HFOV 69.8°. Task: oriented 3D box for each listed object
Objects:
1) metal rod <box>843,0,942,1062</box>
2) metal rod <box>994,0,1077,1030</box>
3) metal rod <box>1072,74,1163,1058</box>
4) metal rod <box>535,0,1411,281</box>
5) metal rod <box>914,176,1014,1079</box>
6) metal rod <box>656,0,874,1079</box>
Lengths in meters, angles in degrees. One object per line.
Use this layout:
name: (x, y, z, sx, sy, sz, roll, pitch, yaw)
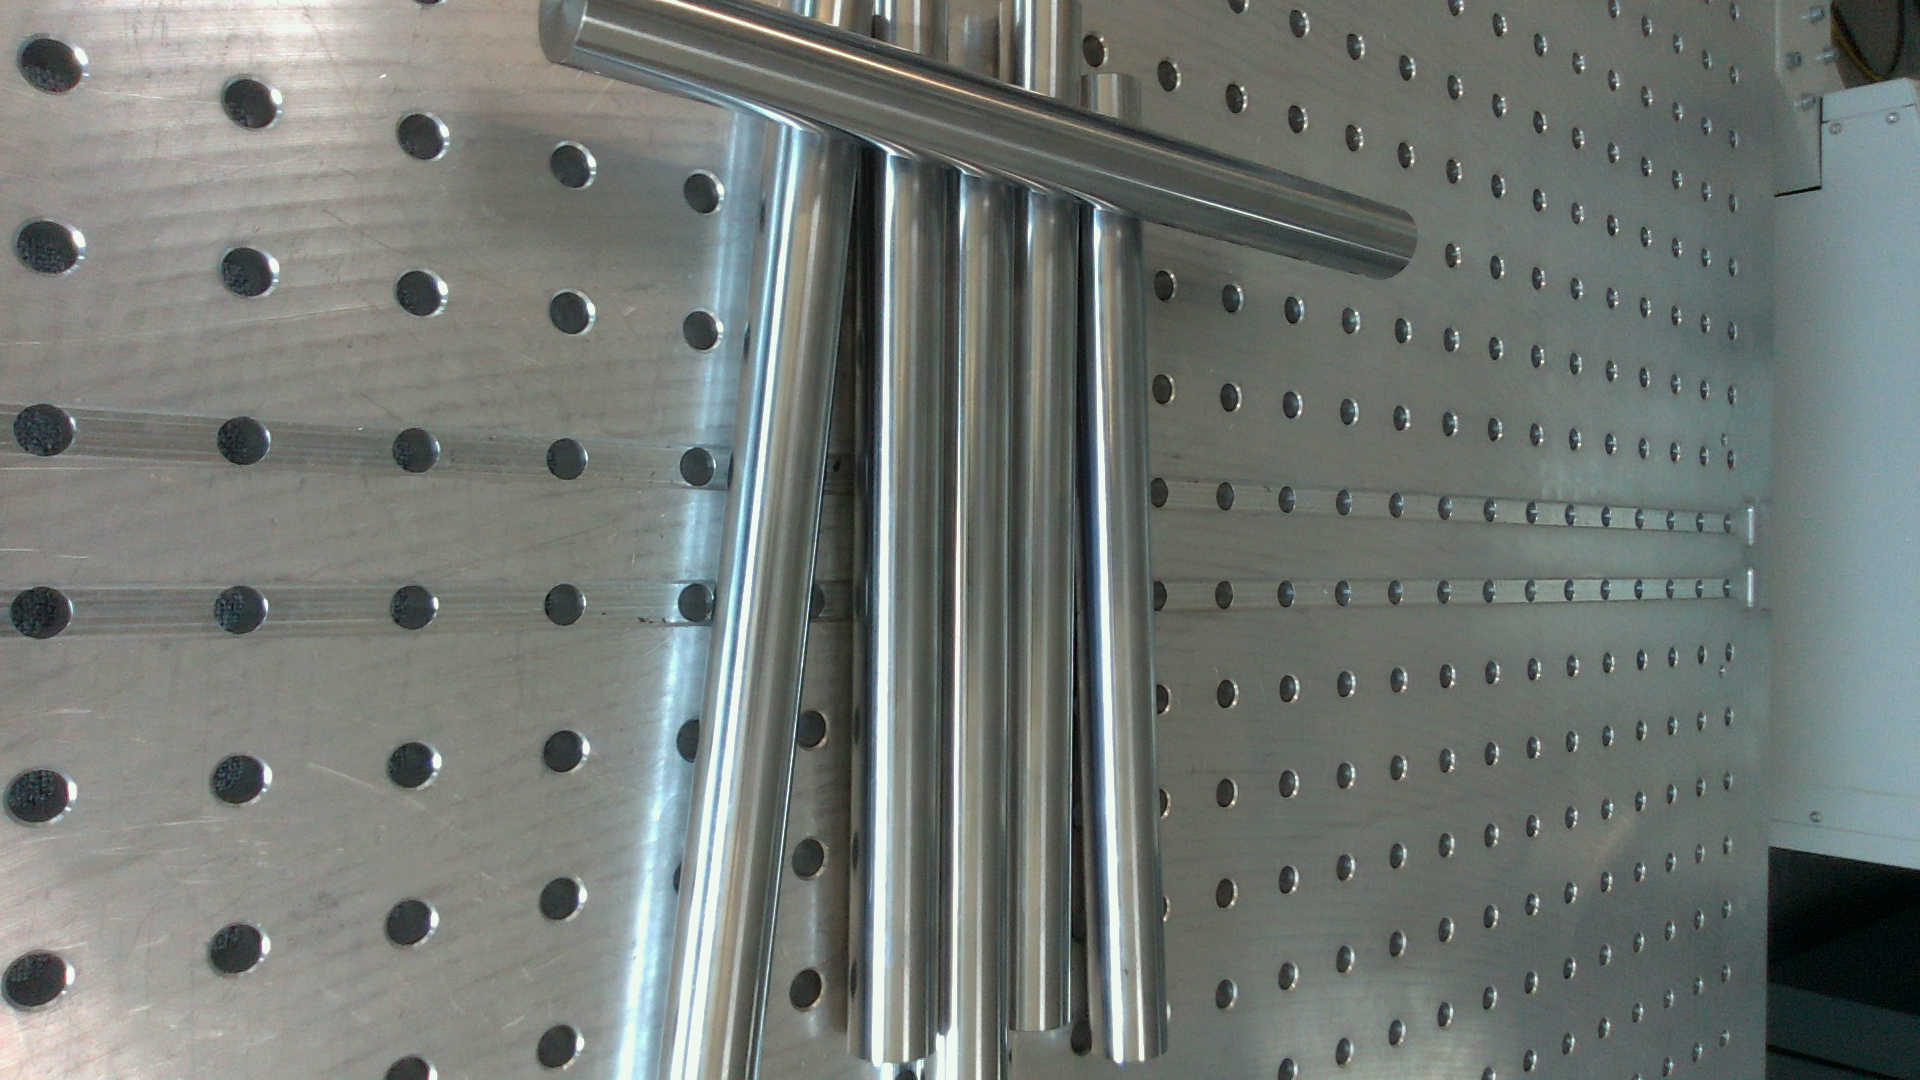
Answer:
metal rod: (-0.018, -0.012, 0.377, 0.025, 0.025, 0.300, 1, 89, -40)
metal rod: (0.021, -0.009, 0.410, 0.025, 0.025, 0.300, 1, 89, -40)
metal rod: (0.047, 0.009, 0.431, 0.025, 0.025, 0.300, -3, 92, -40)
metal rod: (0.031, -0.108, 0.385, 0.301, 0.025, 0.025, 2, 89, -40)
metal rod: (0.001, 0.044, 0.392, 0.025, 0.025, 0.300, 1, 90, -40)
metal rod: (-0.050, 0.007, 0.348, 0.025, 0.025, 0.300, 9, 84, -39)
